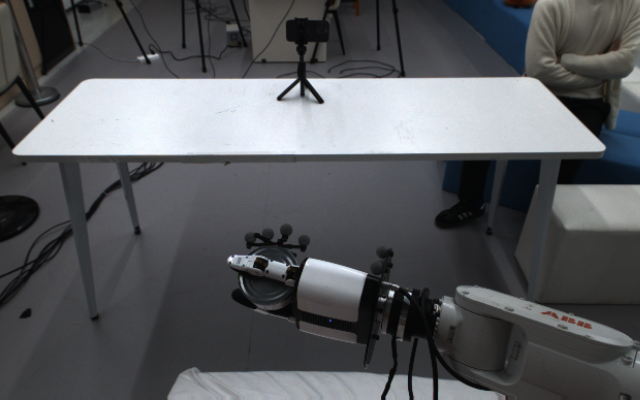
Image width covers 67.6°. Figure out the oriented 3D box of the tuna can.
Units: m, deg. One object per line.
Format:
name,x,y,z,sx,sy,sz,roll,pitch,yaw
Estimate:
tuna can,-0.067,0.109,0.673,0.085,0.034,0.085,-3,61,6
